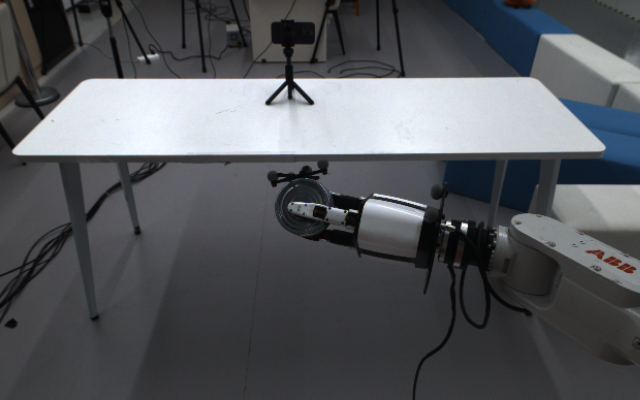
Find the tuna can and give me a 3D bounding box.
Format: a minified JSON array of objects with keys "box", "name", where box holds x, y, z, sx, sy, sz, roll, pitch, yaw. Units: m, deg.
[{"box":[-0.019,0.017,0.714,0.085,0.085,0.034,12,-6,14],"name":"tuna can"}]
